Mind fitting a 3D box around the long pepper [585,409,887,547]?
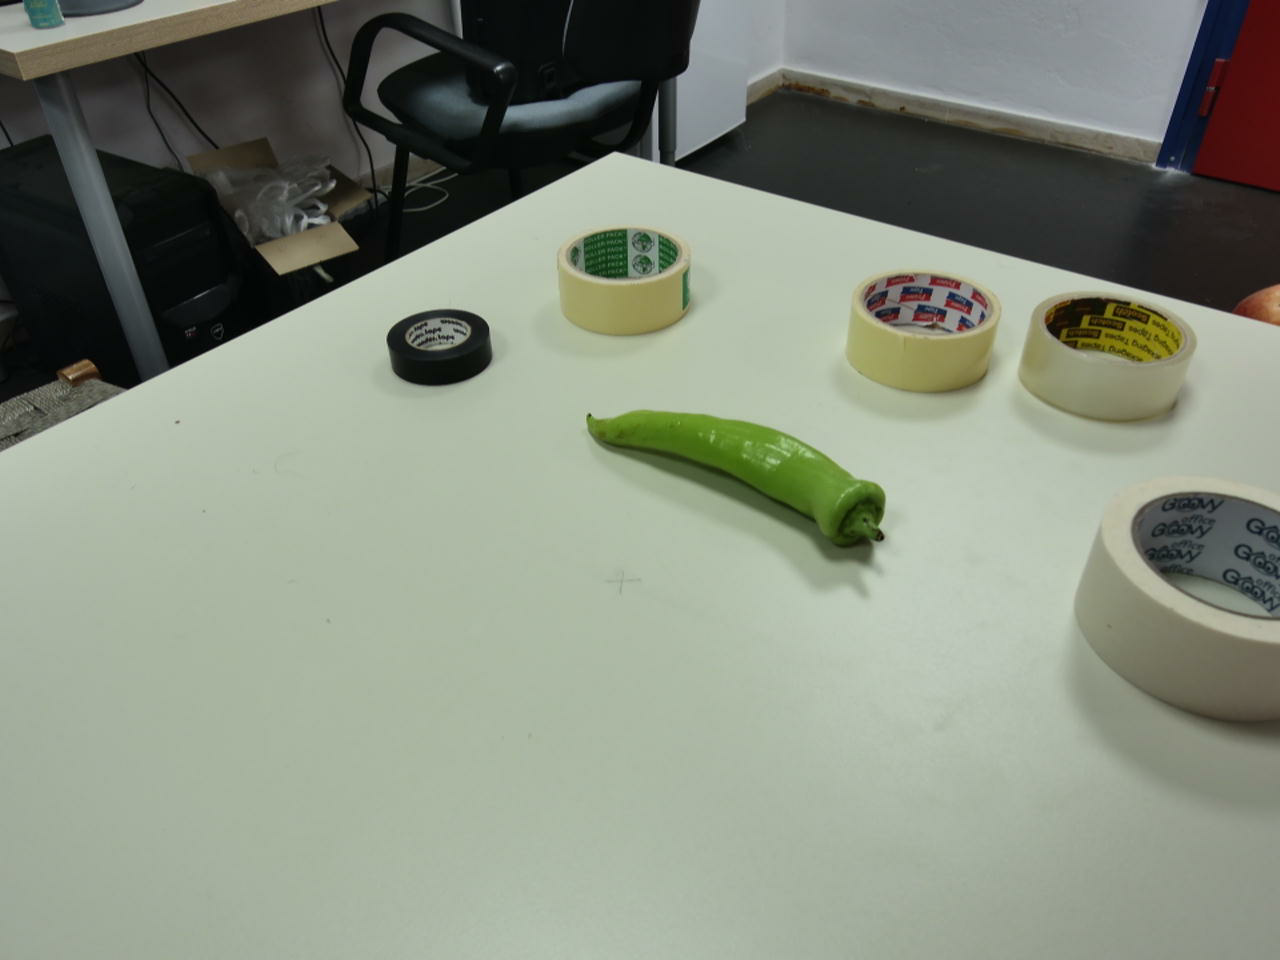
[{"bbox_3d":[0.051,-0.014,0.537,0.197,0.038,0.046,27,45,32],"label":"long pepper"}]
